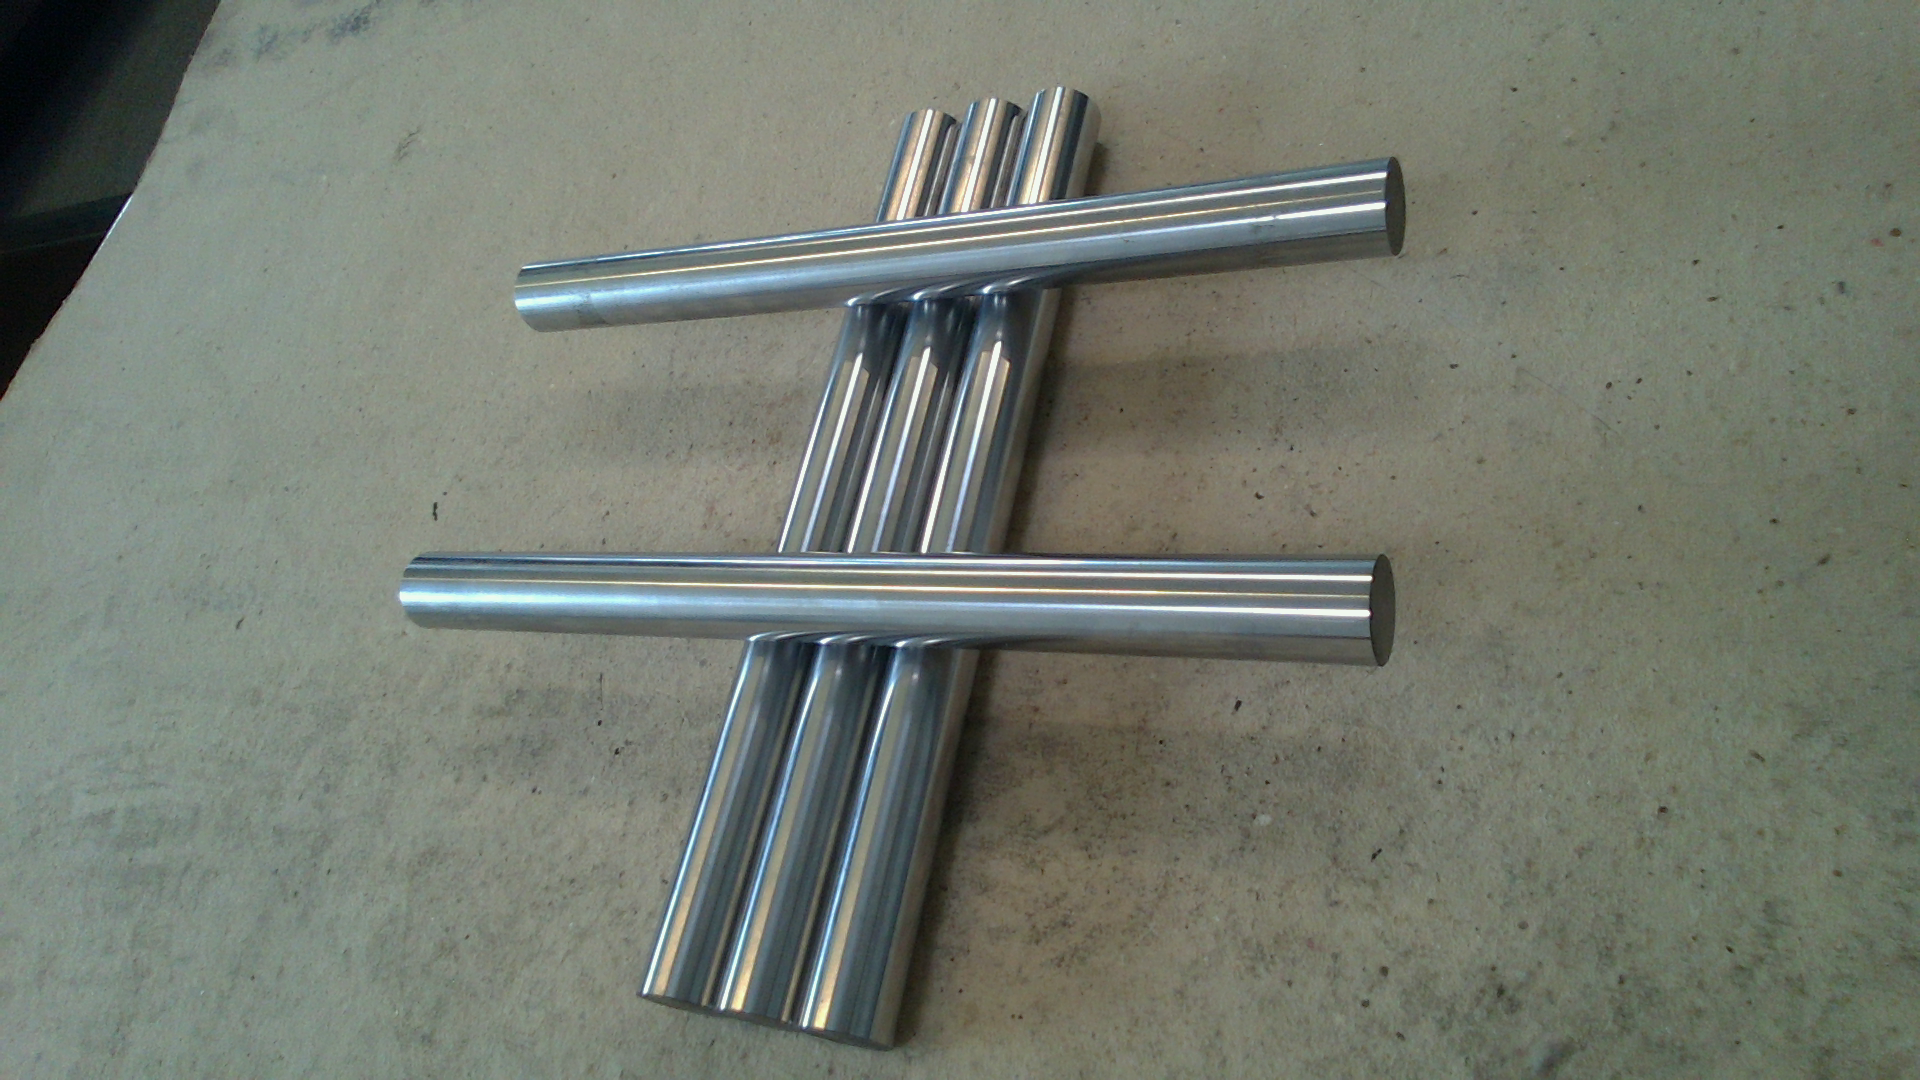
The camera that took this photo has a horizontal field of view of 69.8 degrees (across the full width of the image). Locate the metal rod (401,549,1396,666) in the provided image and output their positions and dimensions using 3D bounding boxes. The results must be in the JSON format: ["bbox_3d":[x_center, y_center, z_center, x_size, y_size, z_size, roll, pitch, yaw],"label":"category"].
[{"bbox_3d":[-0.038,0.015,0.373,0.299,0.025,0.025,0,62,28],"label":"metal rod"}]

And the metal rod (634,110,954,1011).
[{"bbox_3d":[-0.041,-0.011,0.423,0.025,0.025,0.300,-1,61,28],"label":"metal rod"}]

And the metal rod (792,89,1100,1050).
[{"bbox_3d":[0.003,-0.011,0.399,0.025,0.025,0.300,-1,61,28],"label":"metal rod"}]

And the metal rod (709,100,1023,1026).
[{"bbox_3d":[-0.019,-0.011,0.411,0.025,0.025,0.300,-1,61,28],"label":"metal rod"}]

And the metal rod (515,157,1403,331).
[{"bbox_3d":[-0.020,-0.087,0.426,0.299,0.025,0.025,0,62,28],"label":"metal rod"}]
